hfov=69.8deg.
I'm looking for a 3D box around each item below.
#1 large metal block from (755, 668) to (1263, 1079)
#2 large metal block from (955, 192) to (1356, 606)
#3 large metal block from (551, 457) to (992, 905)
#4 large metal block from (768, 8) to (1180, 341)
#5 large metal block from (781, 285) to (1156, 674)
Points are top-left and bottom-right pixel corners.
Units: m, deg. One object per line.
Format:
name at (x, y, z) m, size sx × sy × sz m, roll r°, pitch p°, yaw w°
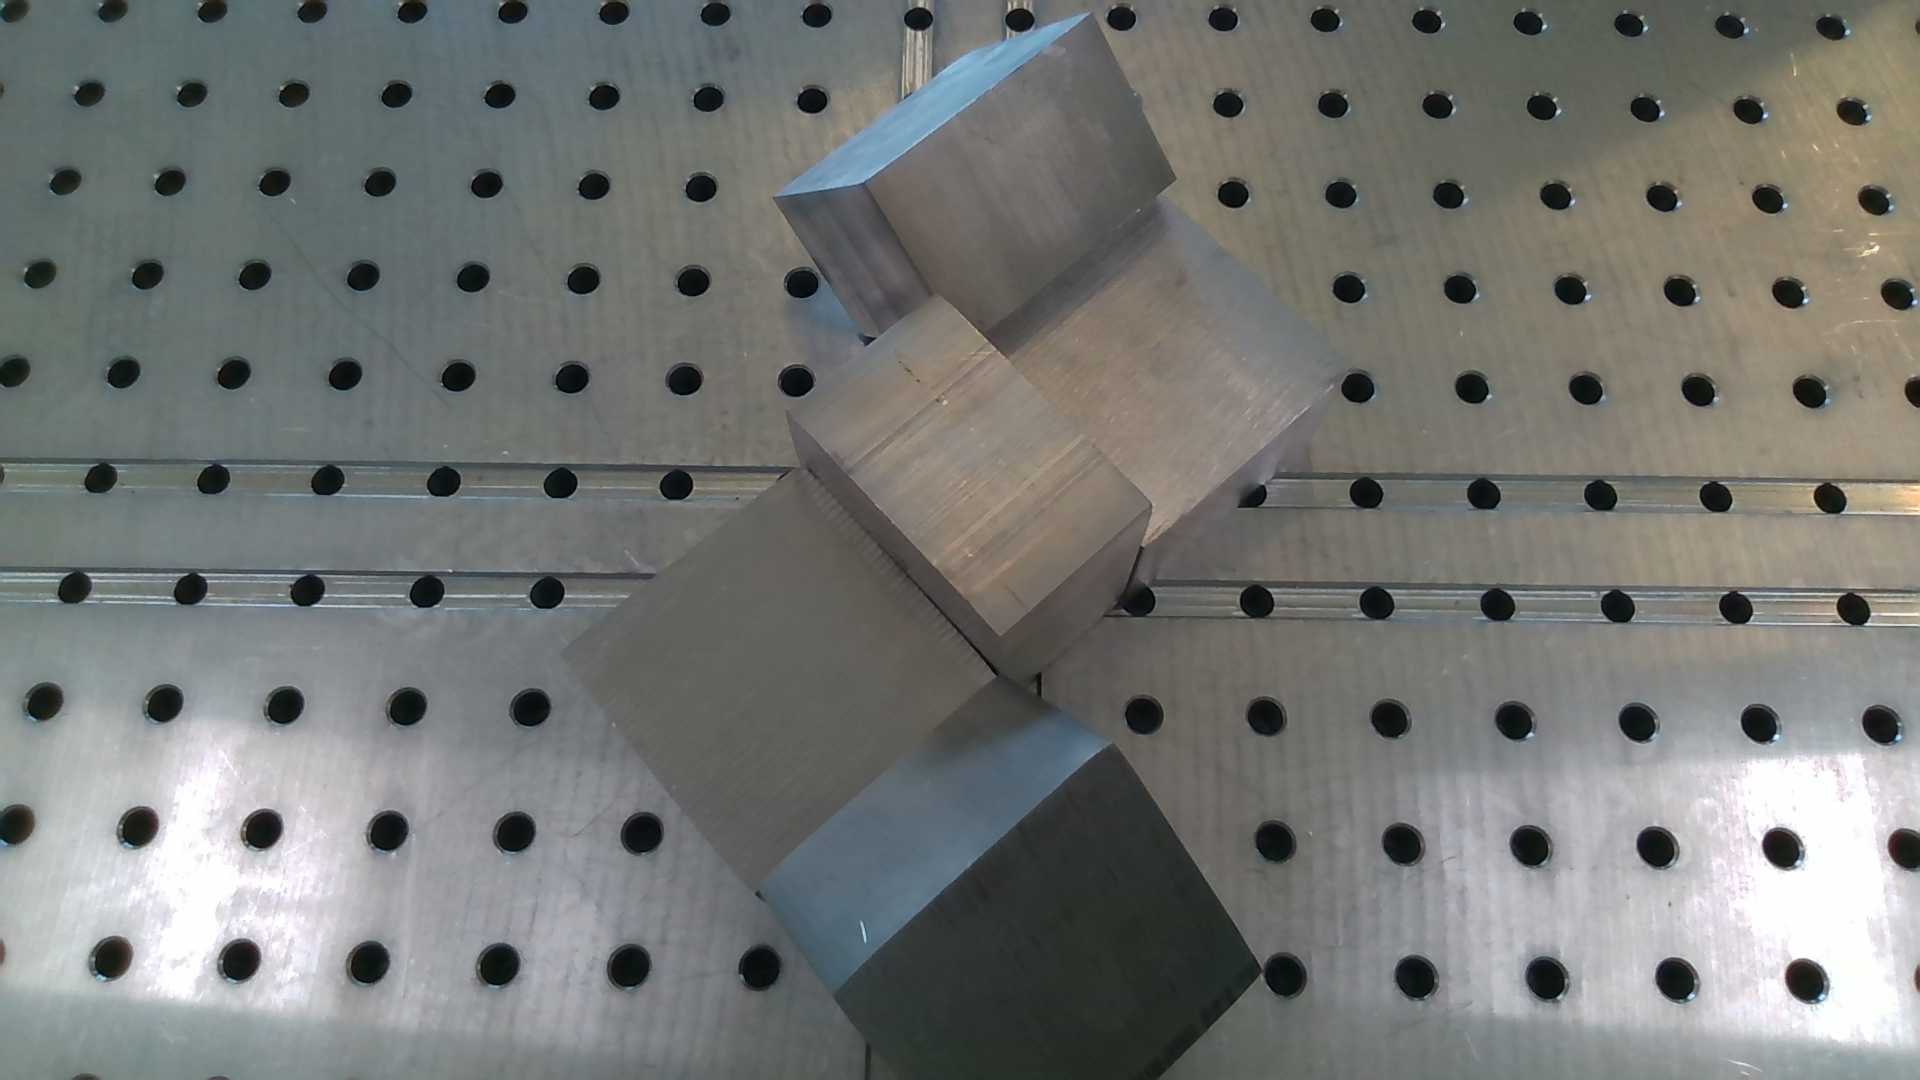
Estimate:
large metal block at (0.012, 0.092, 0.330) m, size 0.080 × 0.050 × 0.080 m, roll -40°, pitch 115°, yaw -12°
large metal block at (0.052, -0.042, 0.399) m, size 0.080 × 0.050 × 0.080 m, roll -40°, pitch 74°, yaw -12°
large metal block at (-0.047, 0.039, 0.370) m, size 0.080 × 0.050 × 0.080 m, roll -39°, pitch 75°, yaw -14°
large metal block at (0.001, -0.103, 0.398) m, size 0.080 × 0.080 × 0.050 m, roll -39°, pitch 114°, yaw -13°
large metal block at (0.002, -0.008, 0.371) m, size 0.050 × 0.080 × 0.080 m, roll -41°, pitch 75°, yaw -12°
